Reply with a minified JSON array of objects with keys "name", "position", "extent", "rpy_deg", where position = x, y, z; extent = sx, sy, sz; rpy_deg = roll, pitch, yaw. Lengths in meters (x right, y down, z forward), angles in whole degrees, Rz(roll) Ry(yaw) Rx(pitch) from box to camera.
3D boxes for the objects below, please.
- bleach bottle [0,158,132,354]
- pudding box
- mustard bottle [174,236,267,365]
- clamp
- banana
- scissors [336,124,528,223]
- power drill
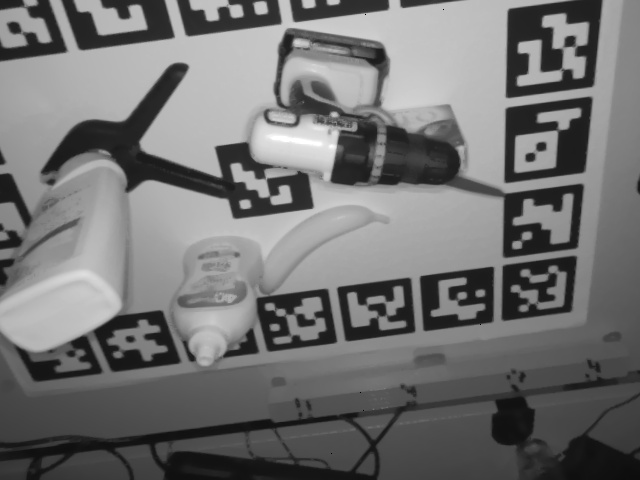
[{"name":"bleach bottle","position":[-0.237,-0.008,0.677],"extent":[0.102,0.251,0.068],"rpy_deg":[-25,125,6]},{"name":"pudding box","position":[0.111,-0.093,0.751],"extent":[0.114,0.090,0.038],"rpy_deg":[-2,130,0]},{"name":"mustard bottle","position":[-0.115,0.070,0.791],"extent":[0.096,0.193,0.058],"rpy_deg":[7,123,-5]},{"name":"clamp","position":[-0.206,-0.083,0.756],"extent":[0.202,0.037,0.164],"rpy_deg":[-11,121,6]},{"name":"banana","position":[-0.007,0.034,0.852],"extent":[0.195,0.039,0.075],"rpy_deg":[-41,133,21]},{"name":"scissors","position":[0.121,-0.052,0.701],"extent":[0.204,0.016,0.086],"rpy_deg":[17,117,-8]},{"name":"power drill","position":[0.044,-0.114,0.642],"extent":[0.185,0.188,0.056],"rpy_deg":[4,130,-8]}]
